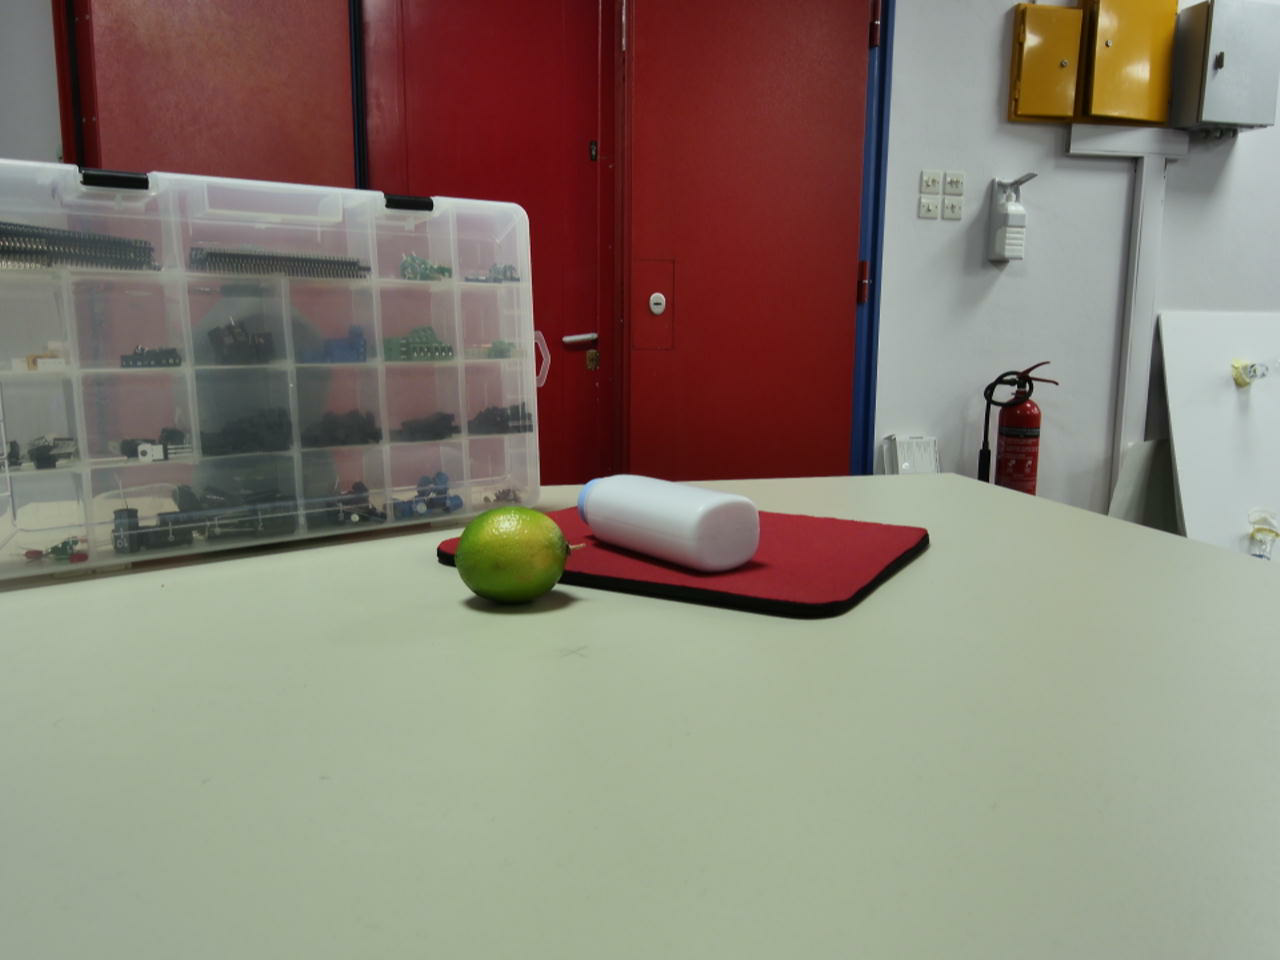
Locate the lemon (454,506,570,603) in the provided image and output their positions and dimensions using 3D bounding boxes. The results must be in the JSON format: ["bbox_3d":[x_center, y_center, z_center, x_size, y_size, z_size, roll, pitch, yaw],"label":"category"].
[{"bbox_3d":[-0.068,0.038,0.528,0.055,0.050,0.054,4,9,37],"label":"lemon"}]
